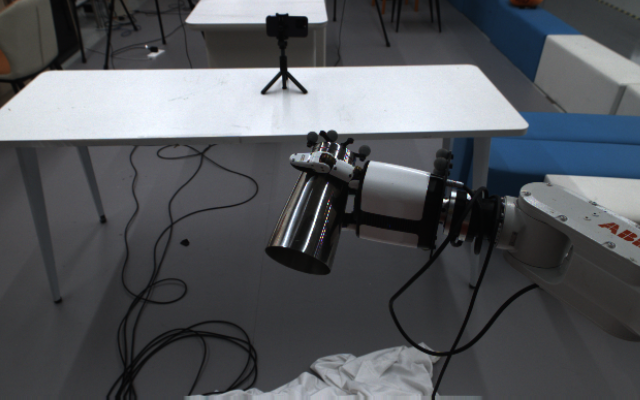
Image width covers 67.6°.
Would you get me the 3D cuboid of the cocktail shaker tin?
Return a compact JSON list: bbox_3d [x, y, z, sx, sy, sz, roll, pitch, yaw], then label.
[{"bbox_3d":[-0.002,0.004,0.668,0.093,0.093,0.170,12,65,14],"label":"cocktail shaker tin"}]
